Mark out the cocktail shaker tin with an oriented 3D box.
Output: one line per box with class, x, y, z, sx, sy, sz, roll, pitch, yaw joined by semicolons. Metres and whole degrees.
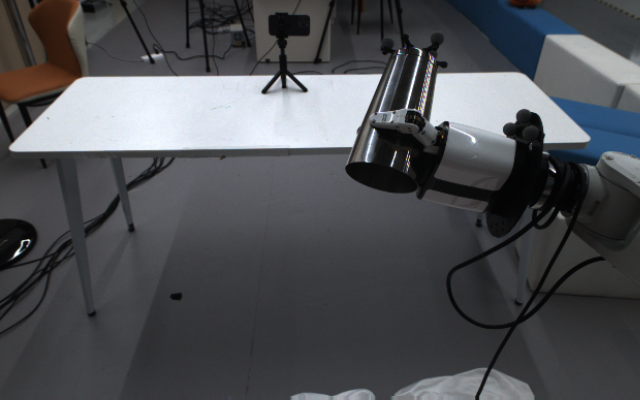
cocktail shaker tin;0.100;-0.105;0.618;0.093;0.093;0.170;13;73;15
